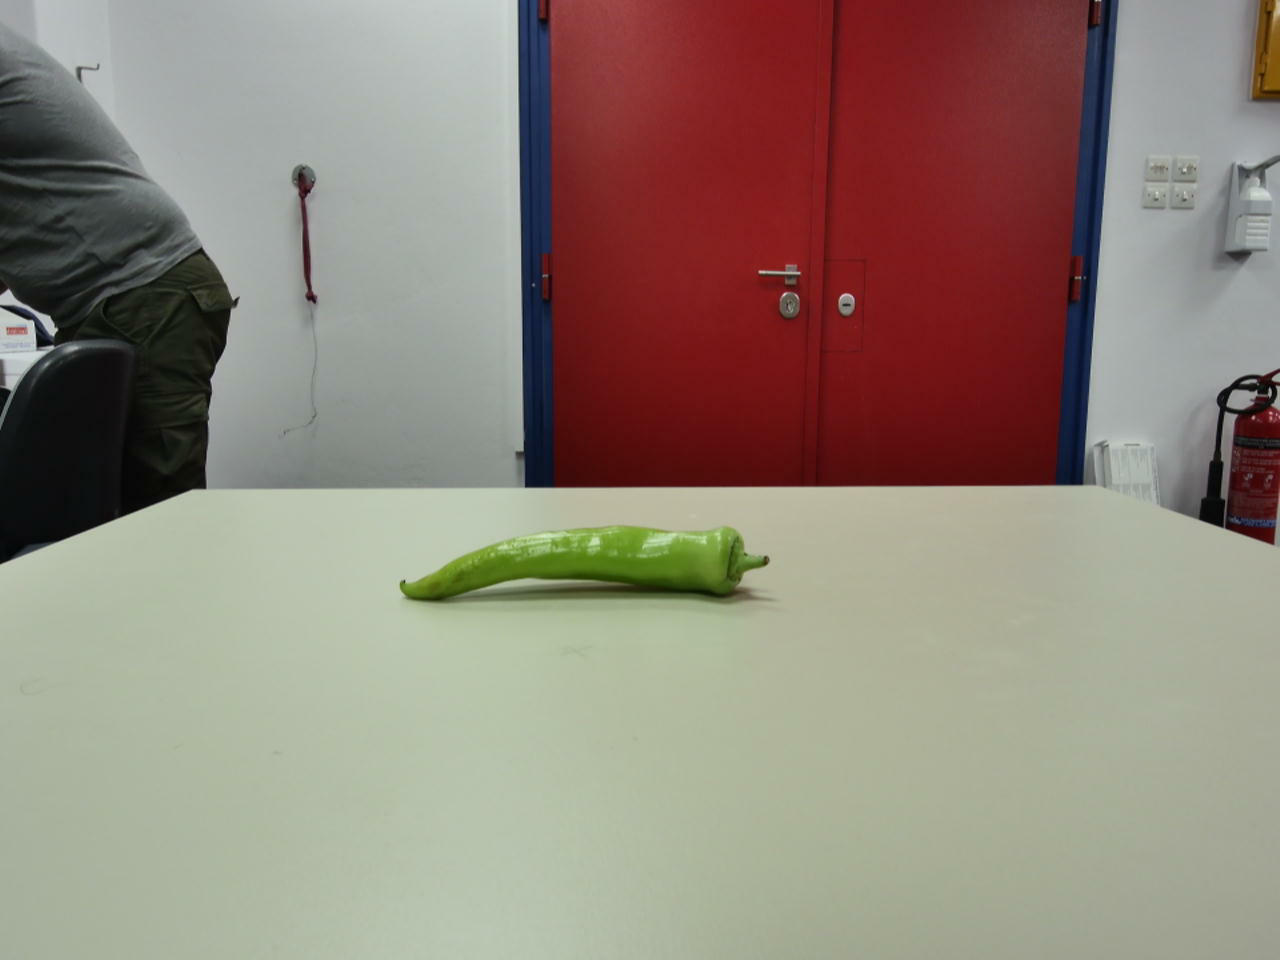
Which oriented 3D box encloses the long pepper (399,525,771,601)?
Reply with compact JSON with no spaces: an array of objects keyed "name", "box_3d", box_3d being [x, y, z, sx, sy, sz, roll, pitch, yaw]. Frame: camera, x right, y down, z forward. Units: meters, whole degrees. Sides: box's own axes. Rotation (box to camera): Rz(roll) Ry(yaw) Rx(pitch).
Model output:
[{"name":"long pepper","box_3d":[-0.029,0.043,0.538,0.197,0.038,0.046,0,6,2]}]
